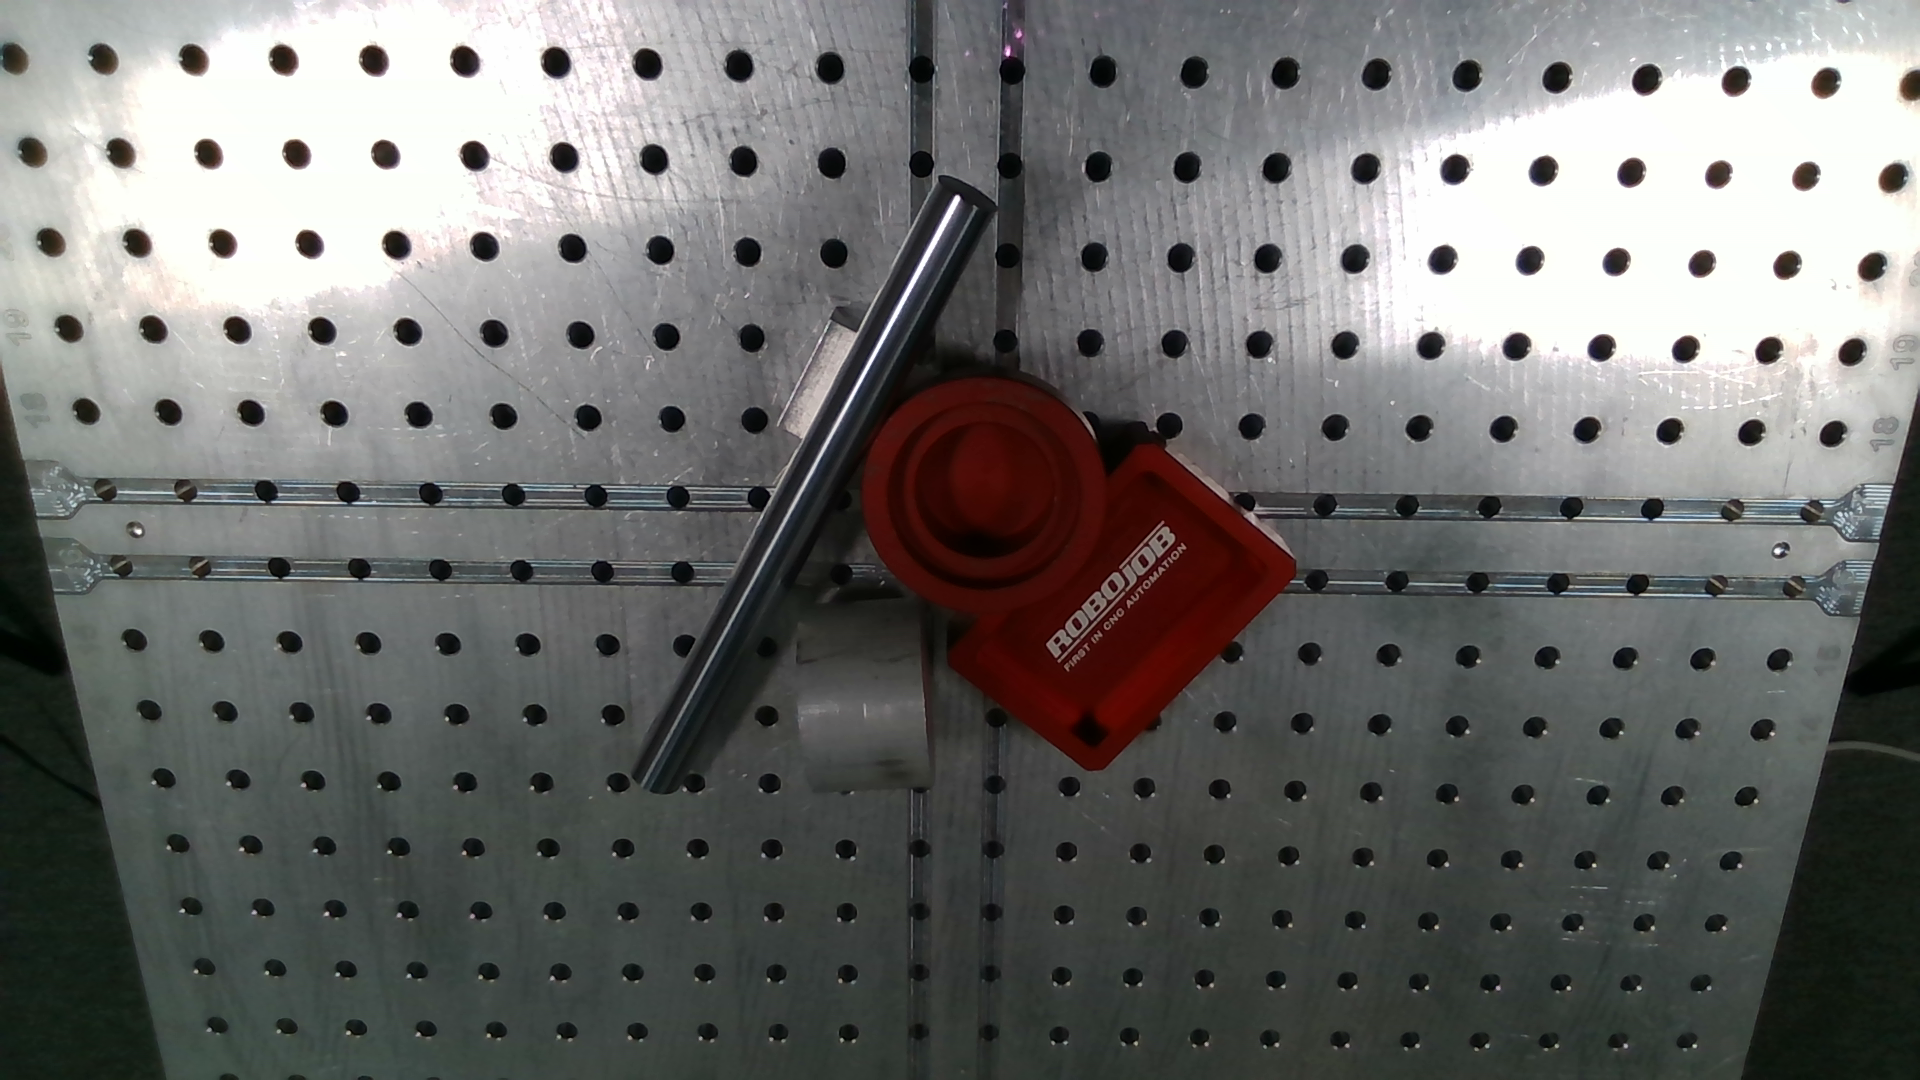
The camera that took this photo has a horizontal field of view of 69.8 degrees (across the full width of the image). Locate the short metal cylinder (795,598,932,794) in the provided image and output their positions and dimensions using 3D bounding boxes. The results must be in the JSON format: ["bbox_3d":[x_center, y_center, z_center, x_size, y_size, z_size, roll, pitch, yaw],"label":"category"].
[{"bbox_3d":[-0.038,0.065,0.581,0.050,0.080,0.080,-4,110,1],"label":"short metal cylinder"}]

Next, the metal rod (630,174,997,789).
[{"bbox_3d":[-0.068,-0.010,0.562,0.025,0.025,0.301,27,117,-9],"label":"metal rod"}]

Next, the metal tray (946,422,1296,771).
[{"bbox_3d":[0.067,0.026,0.593,0.090,0.030,0.130,38,106,-13],"label":"metal tray"}]

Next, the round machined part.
[{"bbox_3d":[0.010,-0.023,0.561,0.098,0.042,0.098,0,108,0],"label":"round machined part"}]

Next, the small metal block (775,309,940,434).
[{"bbox_3d":[-0.041,-0.060,0.565,0.050,0.025,0.050,27,108,-9],"label":"small metal block"}]
